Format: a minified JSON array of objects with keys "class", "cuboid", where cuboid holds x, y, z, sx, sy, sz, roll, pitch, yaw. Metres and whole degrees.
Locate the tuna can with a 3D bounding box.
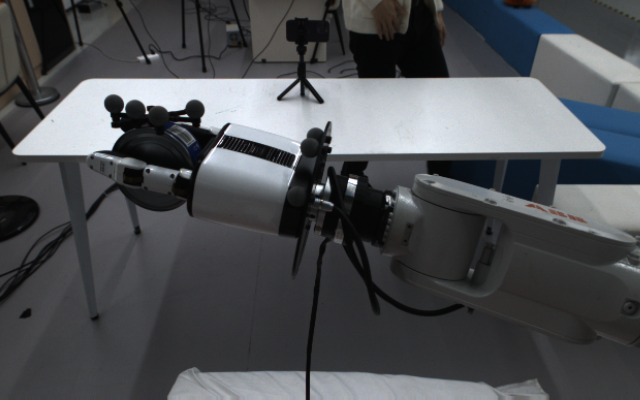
[{"class":"tuna can","cuboid":[-0.156,-0.034,0.478,0.085,0.085,0.034,6,22,5]}]
